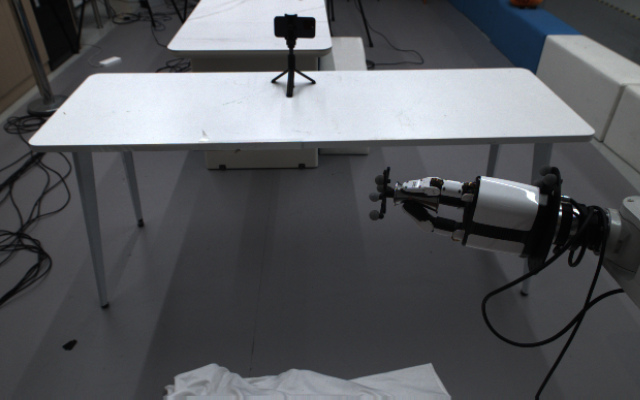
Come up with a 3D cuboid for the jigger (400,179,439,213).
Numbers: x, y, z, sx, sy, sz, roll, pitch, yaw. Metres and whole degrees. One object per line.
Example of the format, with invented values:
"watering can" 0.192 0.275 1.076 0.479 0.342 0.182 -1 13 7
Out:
"jigger" 0.158 -0.011 0.753 0.071 0.043 0.043 8 35 14
